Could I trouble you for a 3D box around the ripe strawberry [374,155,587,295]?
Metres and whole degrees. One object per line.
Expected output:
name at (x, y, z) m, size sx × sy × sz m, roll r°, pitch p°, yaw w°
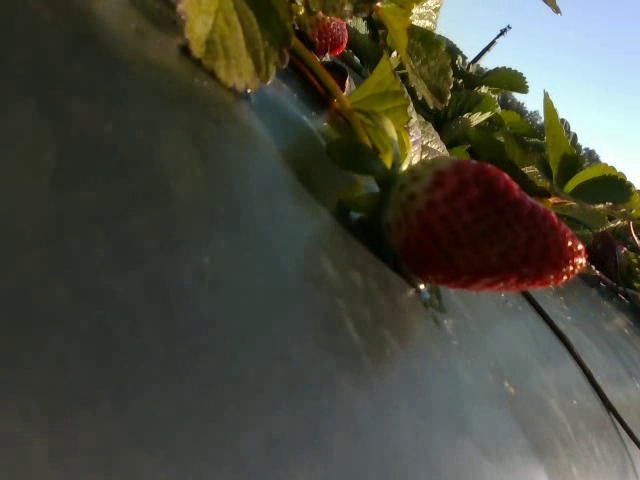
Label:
ripe strawberry at (0.030, -0.001, 0.110) m, size 0.041 × 0.031 × 0.028 m, roll 20°, pitch 26°, yaw 31°
